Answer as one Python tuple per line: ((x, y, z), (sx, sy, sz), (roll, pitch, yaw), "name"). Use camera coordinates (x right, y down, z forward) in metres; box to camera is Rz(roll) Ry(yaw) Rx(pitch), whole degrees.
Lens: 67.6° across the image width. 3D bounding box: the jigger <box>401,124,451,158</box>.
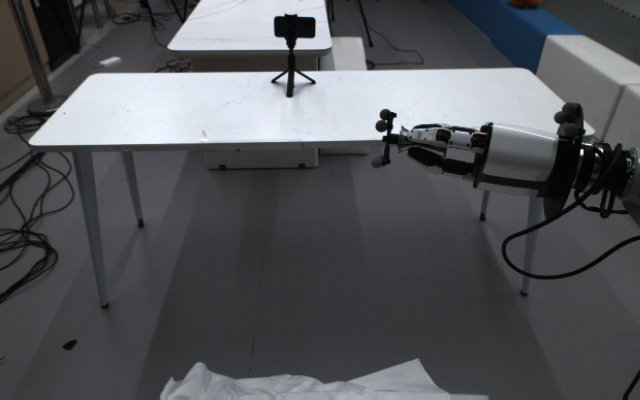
((0.155, -0.087, 0.698), (0.071, 0.043, 0.043), (7, 35, 14), "jigger")
